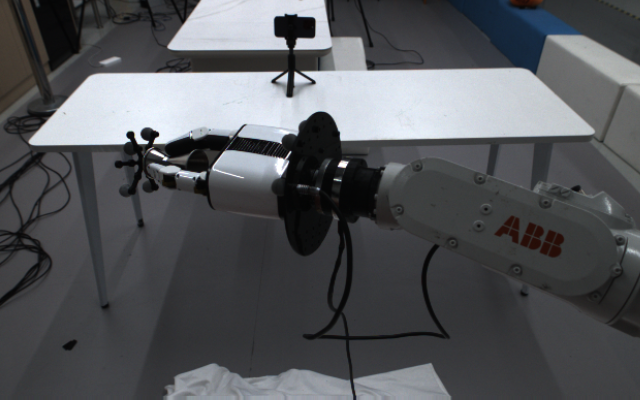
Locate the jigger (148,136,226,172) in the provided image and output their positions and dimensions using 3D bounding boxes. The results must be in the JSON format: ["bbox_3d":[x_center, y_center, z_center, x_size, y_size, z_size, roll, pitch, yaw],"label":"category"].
[{"bbox_3d":[-0.173,-0.046,0.595,0.071,0.043,0.043,6,34,22],"label":"jigger"}]
